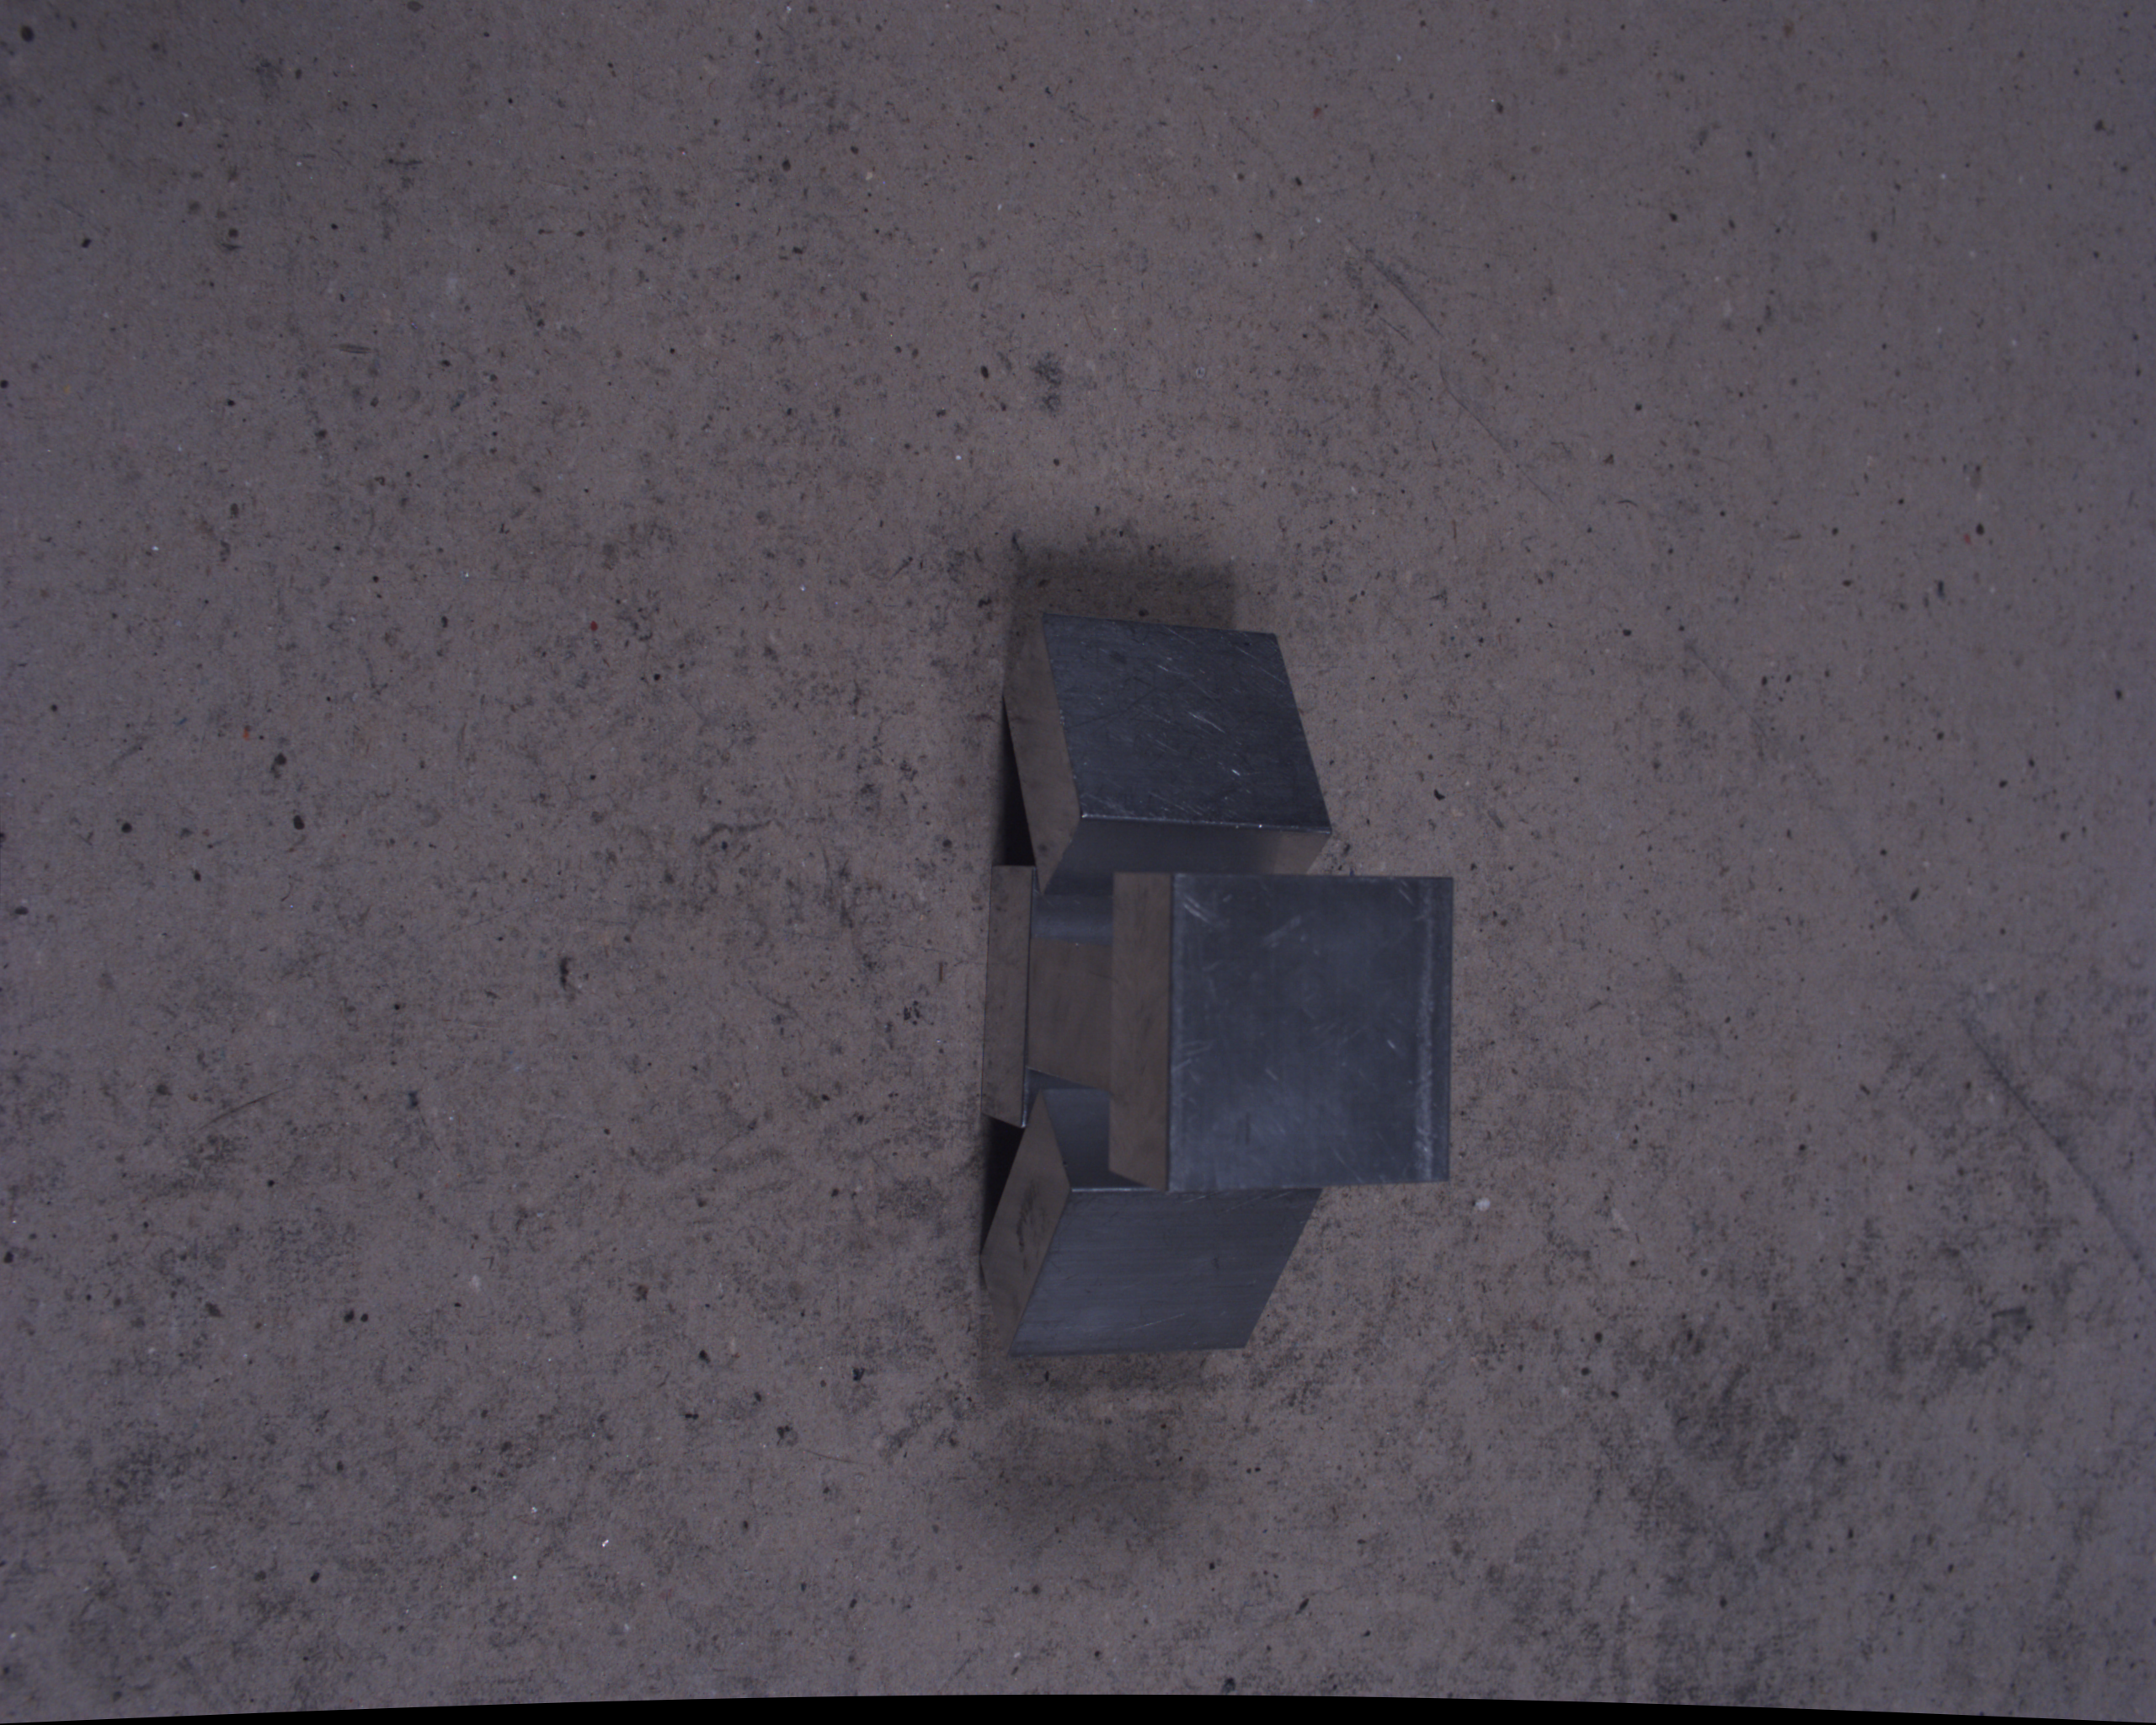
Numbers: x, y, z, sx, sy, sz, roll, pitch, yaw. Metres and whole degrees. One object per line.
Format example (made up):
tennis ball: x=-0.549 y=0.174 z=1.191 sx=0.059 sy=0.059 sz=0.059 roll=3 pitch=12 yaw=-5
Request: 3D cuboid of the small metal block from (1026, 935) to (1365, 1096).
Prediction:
small metal block: x=0.023 y=0.027 z=0.379 sx=0.050 sy=0.050 sz=0.025 roll=3 pitch=89 yaw=-20

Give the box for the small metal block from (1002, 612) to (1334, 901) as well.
small metal block: x=0.016 y=-0.020 z=0.405 sx=0.050 sy=0.025 sz=0.050 roll=3 pitch=53 yaw=-20

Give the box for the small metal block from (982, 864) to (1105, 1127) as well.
small metal block: x=0.010 y=0.026 z=0.416 sx=0.050 sy=0.025 sz=0.050 roll=3 pitch=89 yaw=-21

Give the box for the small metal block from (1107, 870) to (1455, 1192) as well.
small metal block: x=0.033 y=0.027 z=0.344 sx=0.050 sy=0.025 sz=0.050 roll=1 pitch=90 yaw=-21

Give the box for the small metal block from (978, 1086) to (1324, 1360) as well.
small metal block: x=0.013 y=0.069 z=0.403 sx=0.050 sy=0.025 sz=0.050 roll=2 pitch=130 yaw=-20
